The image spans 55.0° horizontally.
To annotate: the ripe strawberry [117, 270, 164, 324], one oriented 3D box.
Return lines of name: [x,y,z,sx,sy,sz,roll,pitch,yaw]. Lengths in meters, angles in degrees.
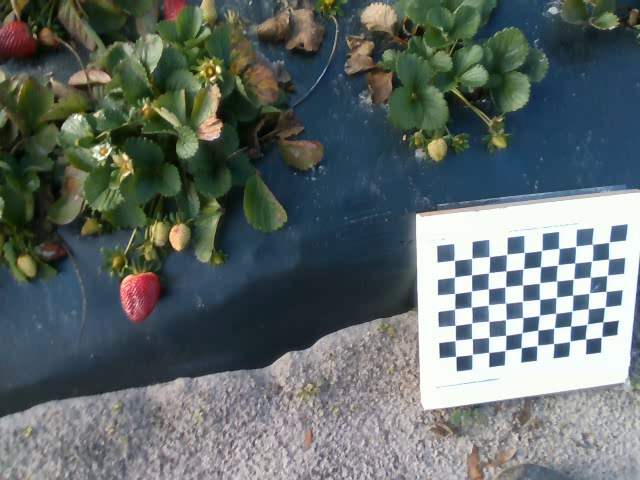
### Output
ripe strawberry: [-0.238,0.074,0.804,0.052,0.068,0.045,-10,-26,-5]
